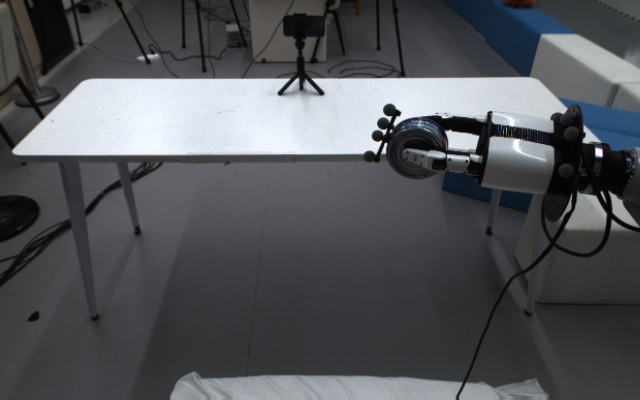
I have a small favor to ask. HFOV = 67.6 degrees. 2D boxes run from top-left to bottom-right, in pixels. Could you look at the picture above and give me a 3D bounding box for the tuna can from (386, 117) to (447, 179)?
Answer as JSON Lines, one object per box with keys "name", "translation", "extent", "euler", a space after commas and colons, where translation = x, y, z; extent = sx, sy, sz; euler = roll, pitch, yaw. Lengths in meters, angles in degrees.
{"name": "tuna can", "translation": [0.140, -0.075, 0.694], "extent": [0.085, 0.085, 0.034], "euler": [9, 35, 10]}
